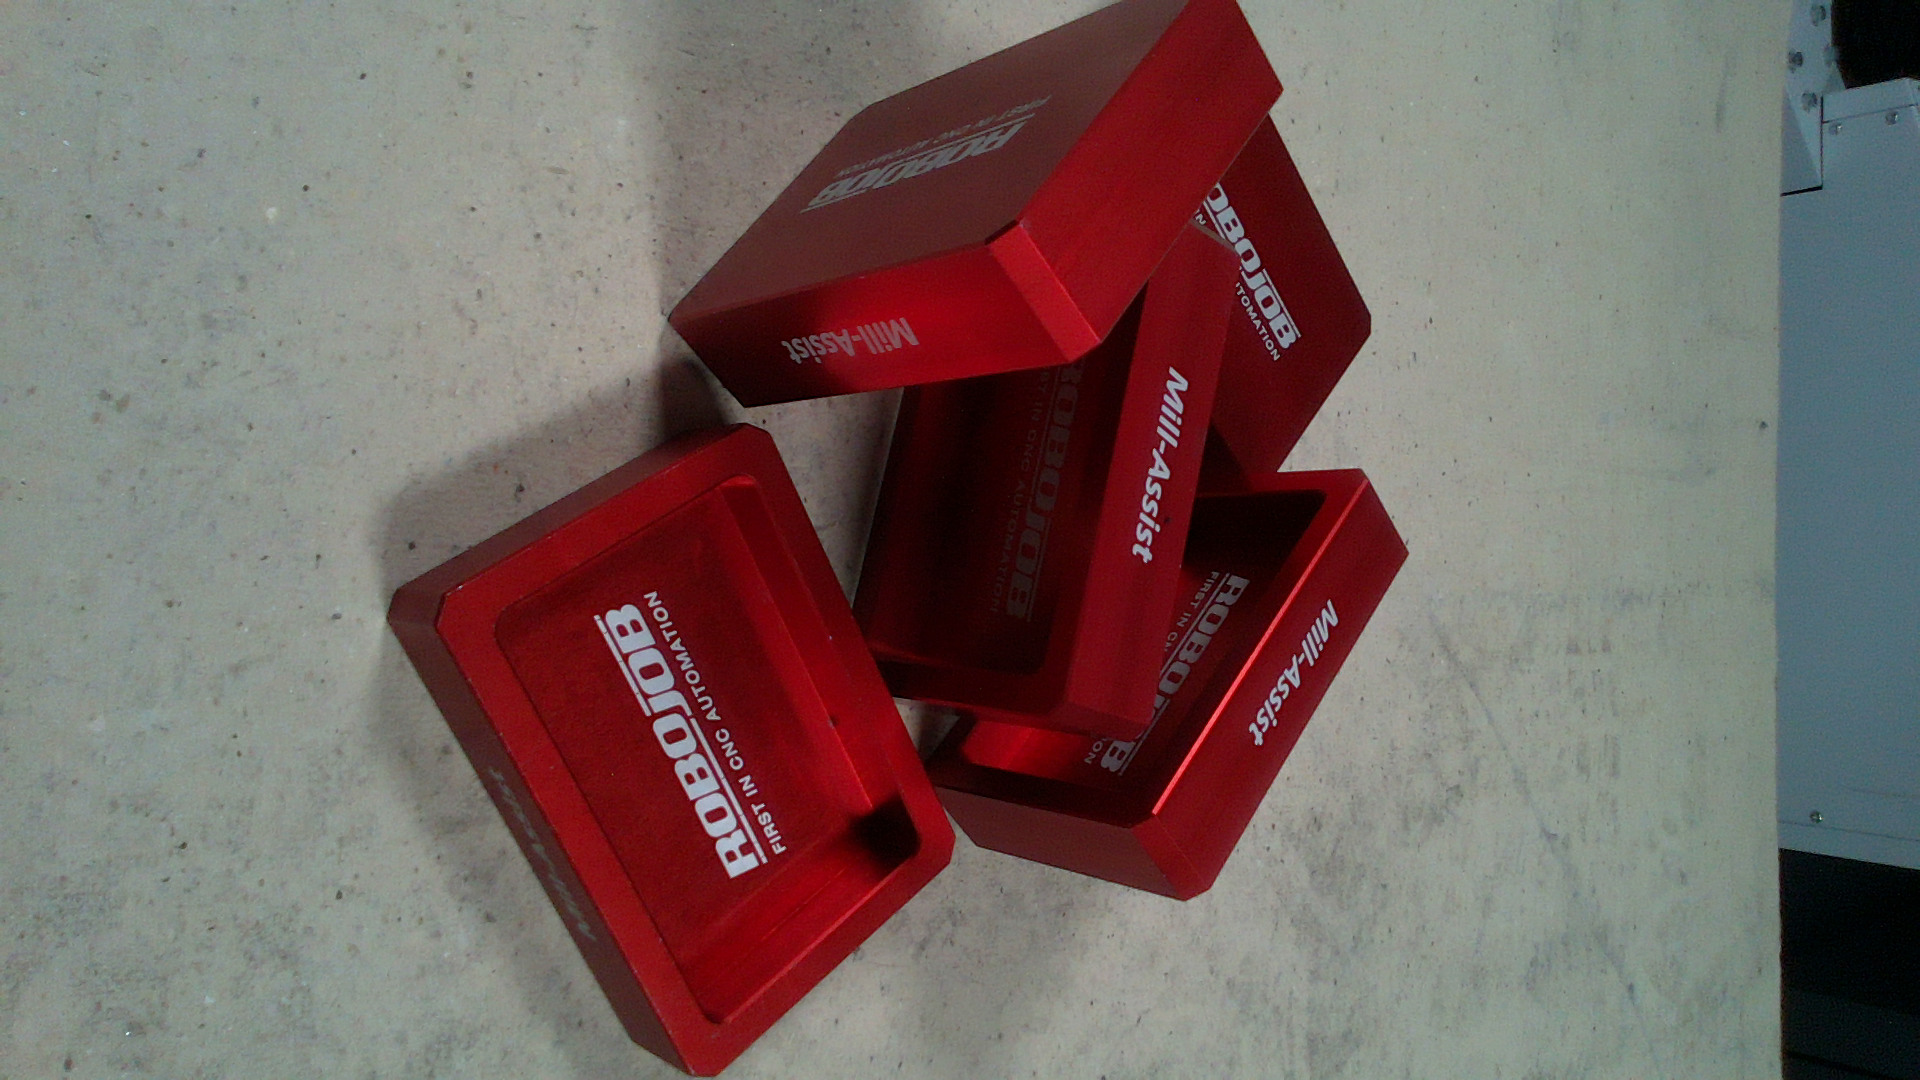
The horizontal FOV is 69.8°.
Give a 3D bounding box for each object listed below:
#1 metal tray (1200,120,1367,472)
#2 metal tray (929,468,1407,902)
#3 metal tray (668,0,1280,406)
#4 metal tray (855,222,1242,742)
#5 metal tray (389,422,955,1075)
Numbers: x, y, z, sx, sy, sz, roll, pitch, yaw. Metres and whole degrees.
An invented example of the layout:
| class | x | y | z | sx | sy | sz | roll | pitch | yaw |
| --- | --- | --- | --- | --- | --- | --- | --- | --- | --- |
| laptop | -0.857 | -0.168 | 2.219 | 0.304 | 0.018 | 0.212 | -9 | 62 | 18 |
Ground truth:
| class | x | y | z | sx | sy | sz | roll | pitch | yaw |
| --- | --- | --- | --- | --- | --- | --- | --- | --- | --- |
| metal tray | 0.078 | -0.092 | 0.451 | 0.090 | 0.030 | 0.130 | -52 | 120 | -27 |
| metal tray | 0.059 | 0.035 | 0.396 | 0.130 | 0.090 | 0.030 | -51 | 120 | -28 |
| metal tray | -0.002 | -0.077 | 0.319 | 0.030 | 0.129 | 0.090 | 51 | 60 | -28 |
| metal tray | 0.019 | -0.018 | 0.362 | 0.030 | 0.090 | 0.130 | 21 | 77 | -38 |
| metal tray | -0.063 | 0.048 | 0.333 | 0.090 | 0.030 | 0.130 | -36 | 112 | -34 |
